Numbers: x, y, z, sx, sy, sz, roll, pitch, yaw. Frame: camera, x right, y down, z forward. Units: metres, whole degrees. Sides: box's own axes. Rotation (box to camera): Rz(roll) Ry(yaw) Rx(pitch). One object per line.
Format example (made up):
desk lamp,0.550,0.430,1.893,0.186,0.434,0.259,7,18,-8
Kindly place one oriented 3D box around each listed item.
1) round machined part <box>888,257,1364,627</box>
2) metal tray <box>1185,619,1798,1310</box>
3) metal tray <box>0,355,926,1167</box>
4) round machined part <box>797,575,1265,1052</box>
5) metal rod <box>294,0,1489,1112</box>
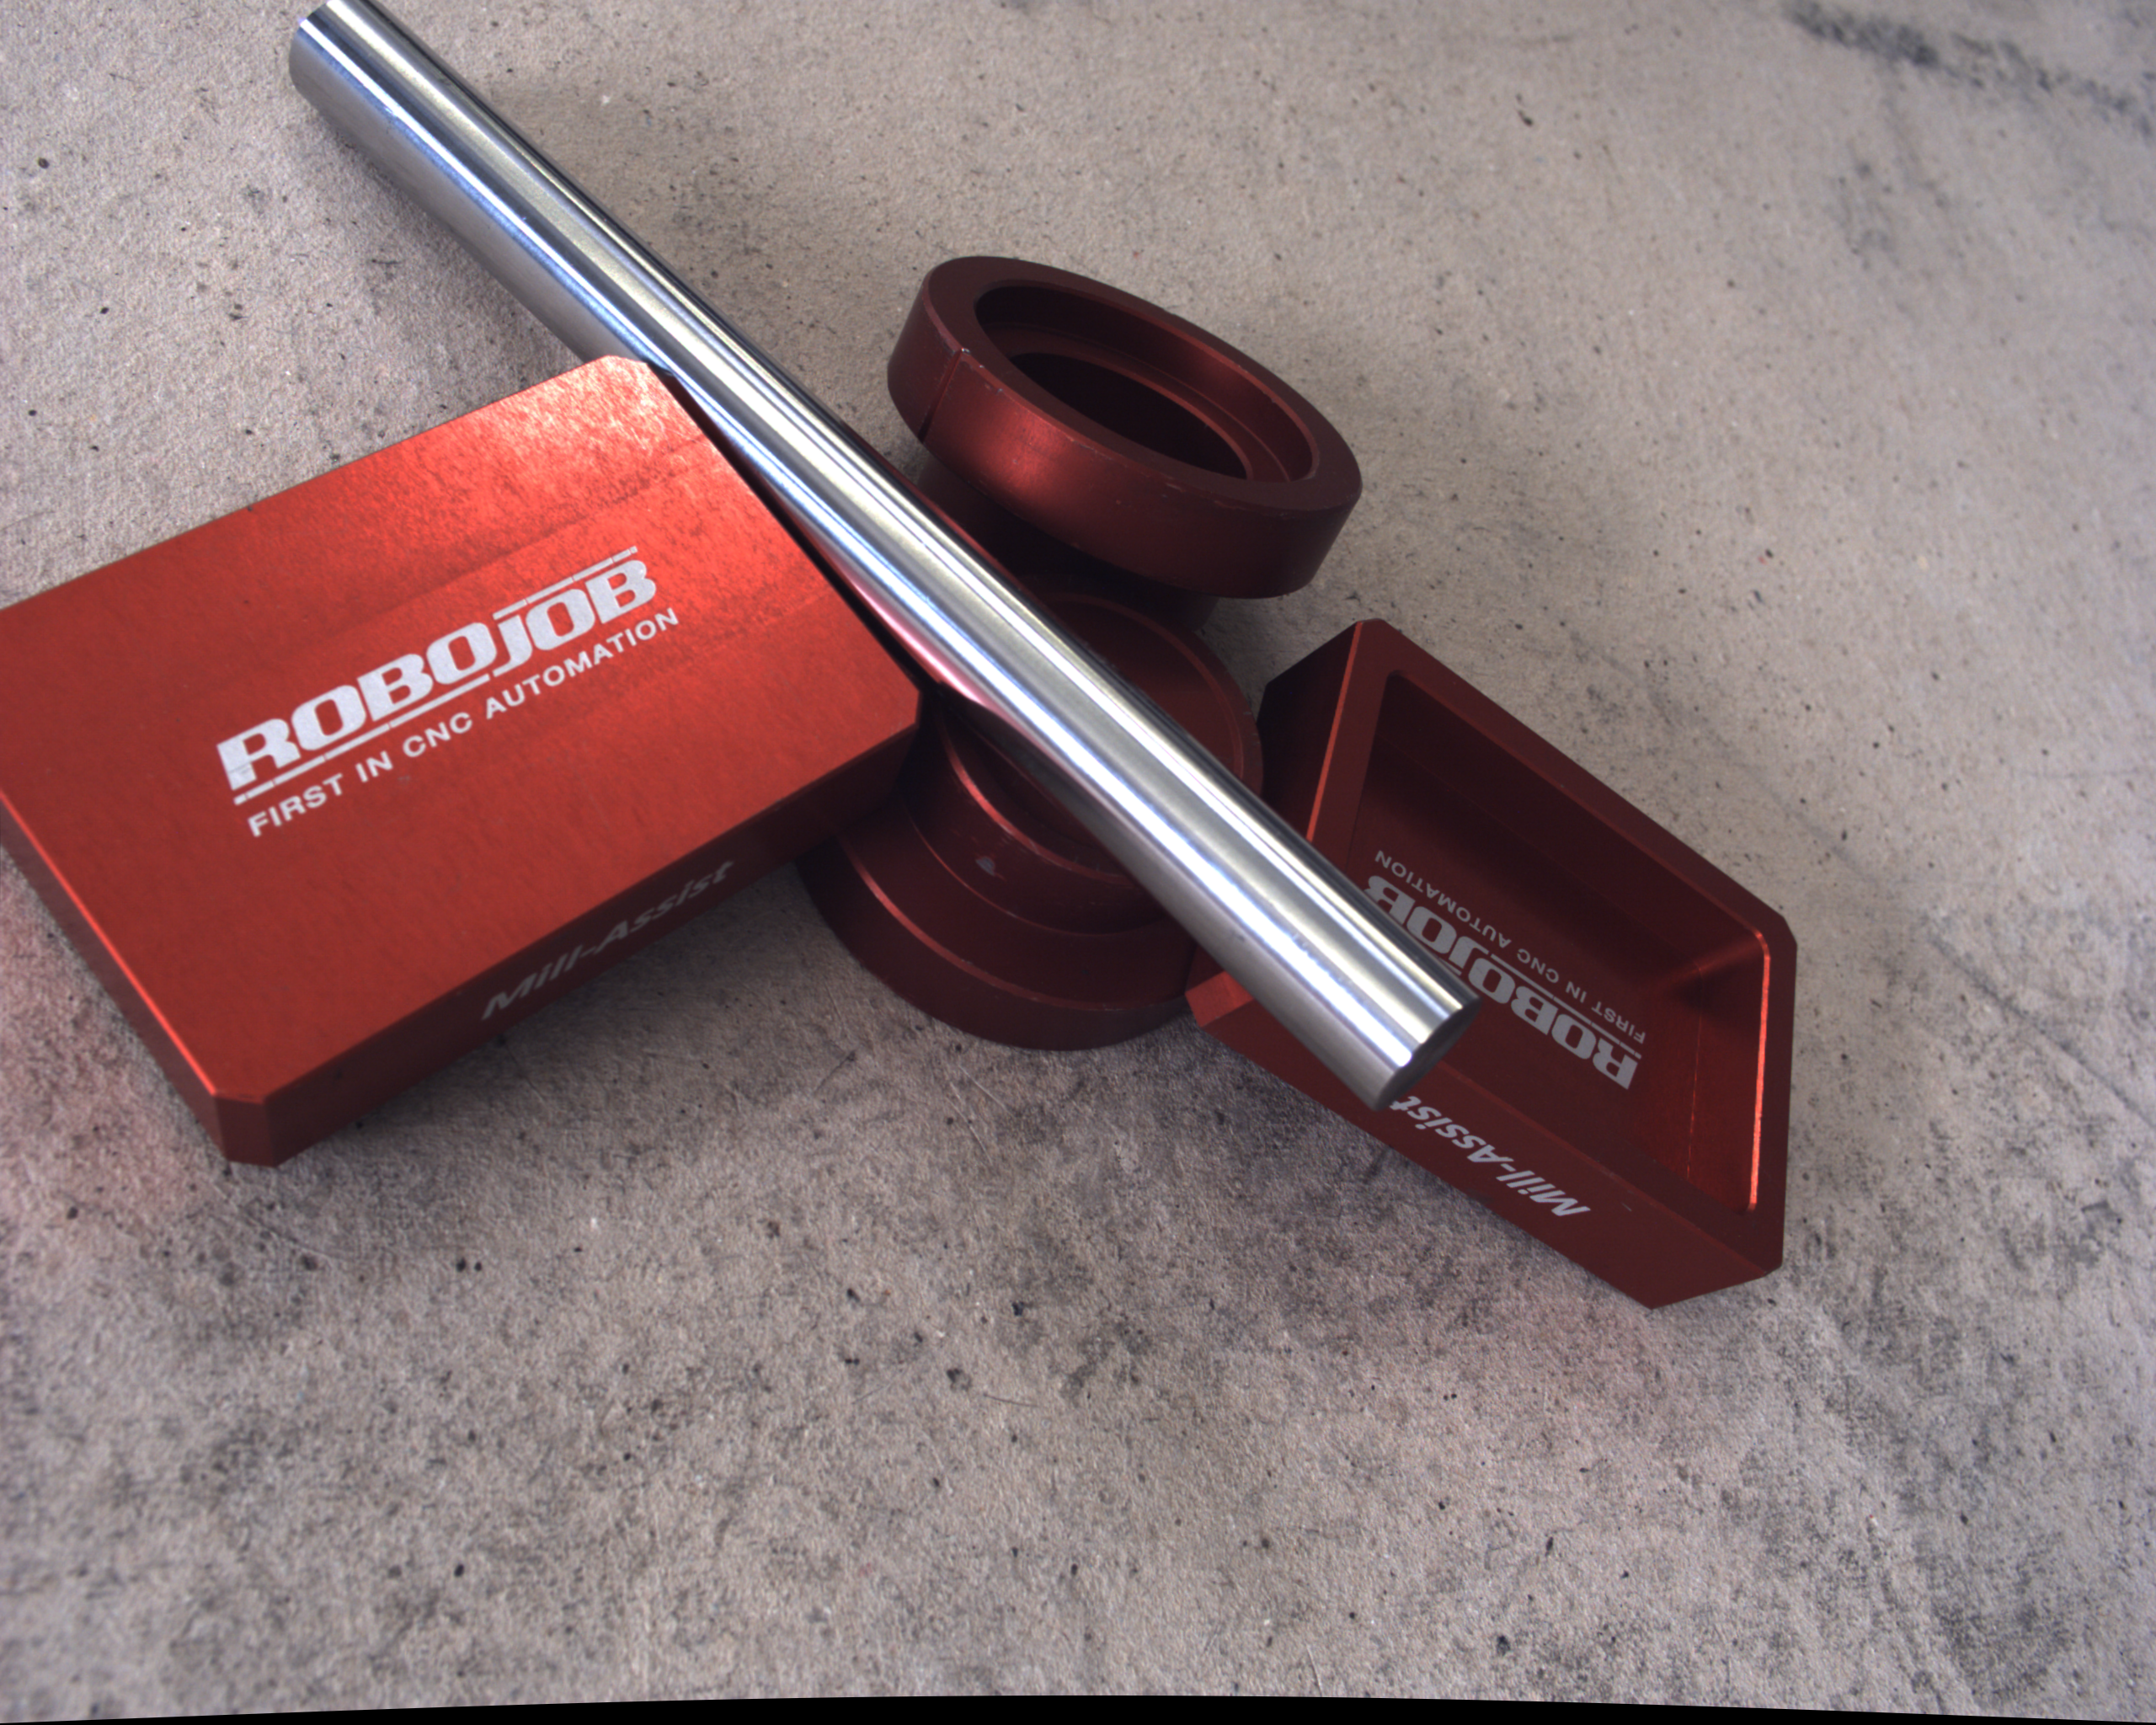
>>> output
round machined part,0.006,-0.083,0.434,0.099,0.042,0.098,20,32,-13
metal tray,0.089,0.021,0.423,0.130,0.030,0.090,33,51,-20
metal tray,-0.103,-0.022,0.346,0.131,0.030,0.090,-33,77,-29
round machined part,-0.004,-0.016,0.403,0.099,0.042,0.098,14,56,-21
metal rod,-0.046,-0.067,0.378,0.300,0.025,0.025,44,50,19
